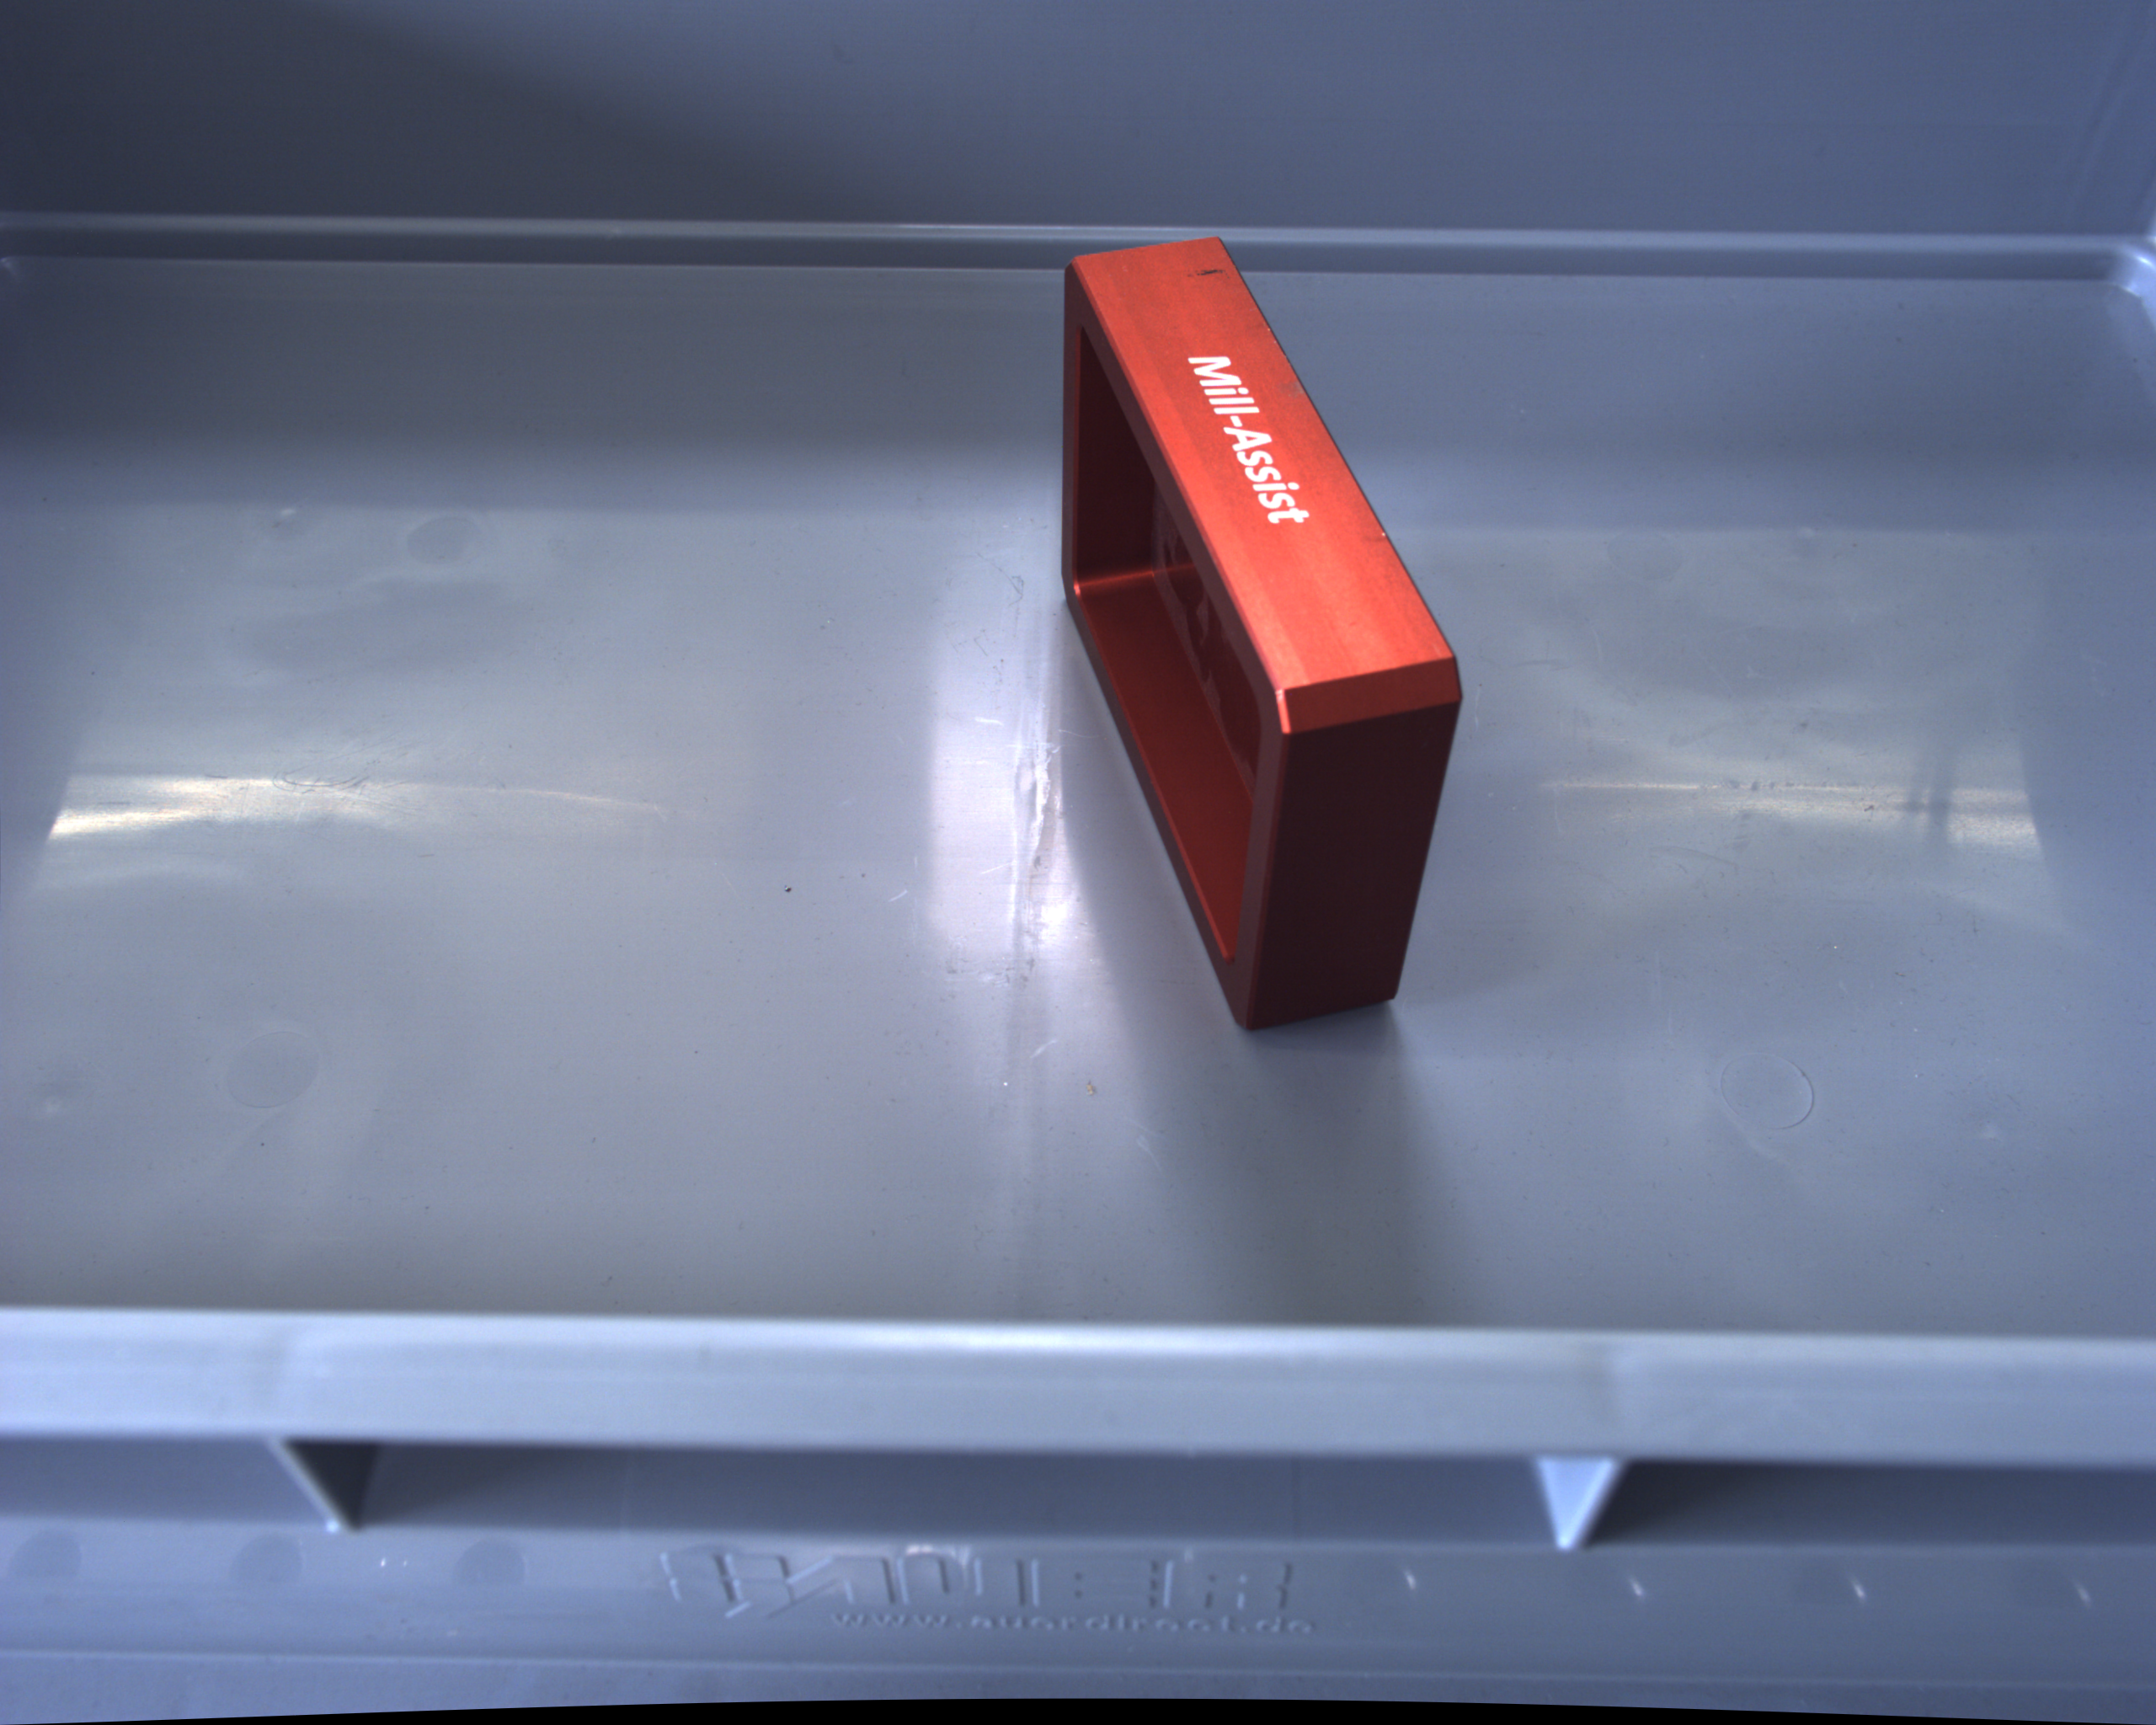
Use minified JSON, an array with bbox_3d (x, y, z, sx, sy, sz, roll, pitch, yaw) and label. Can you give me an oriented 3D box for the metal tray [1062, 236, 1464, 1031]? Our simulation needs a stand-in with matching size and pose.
[{"bbox_3d":[0.029,-0.045,0.398,0.030,0.090,0.130,-12,51,-11],"label":"metal tray"}]
